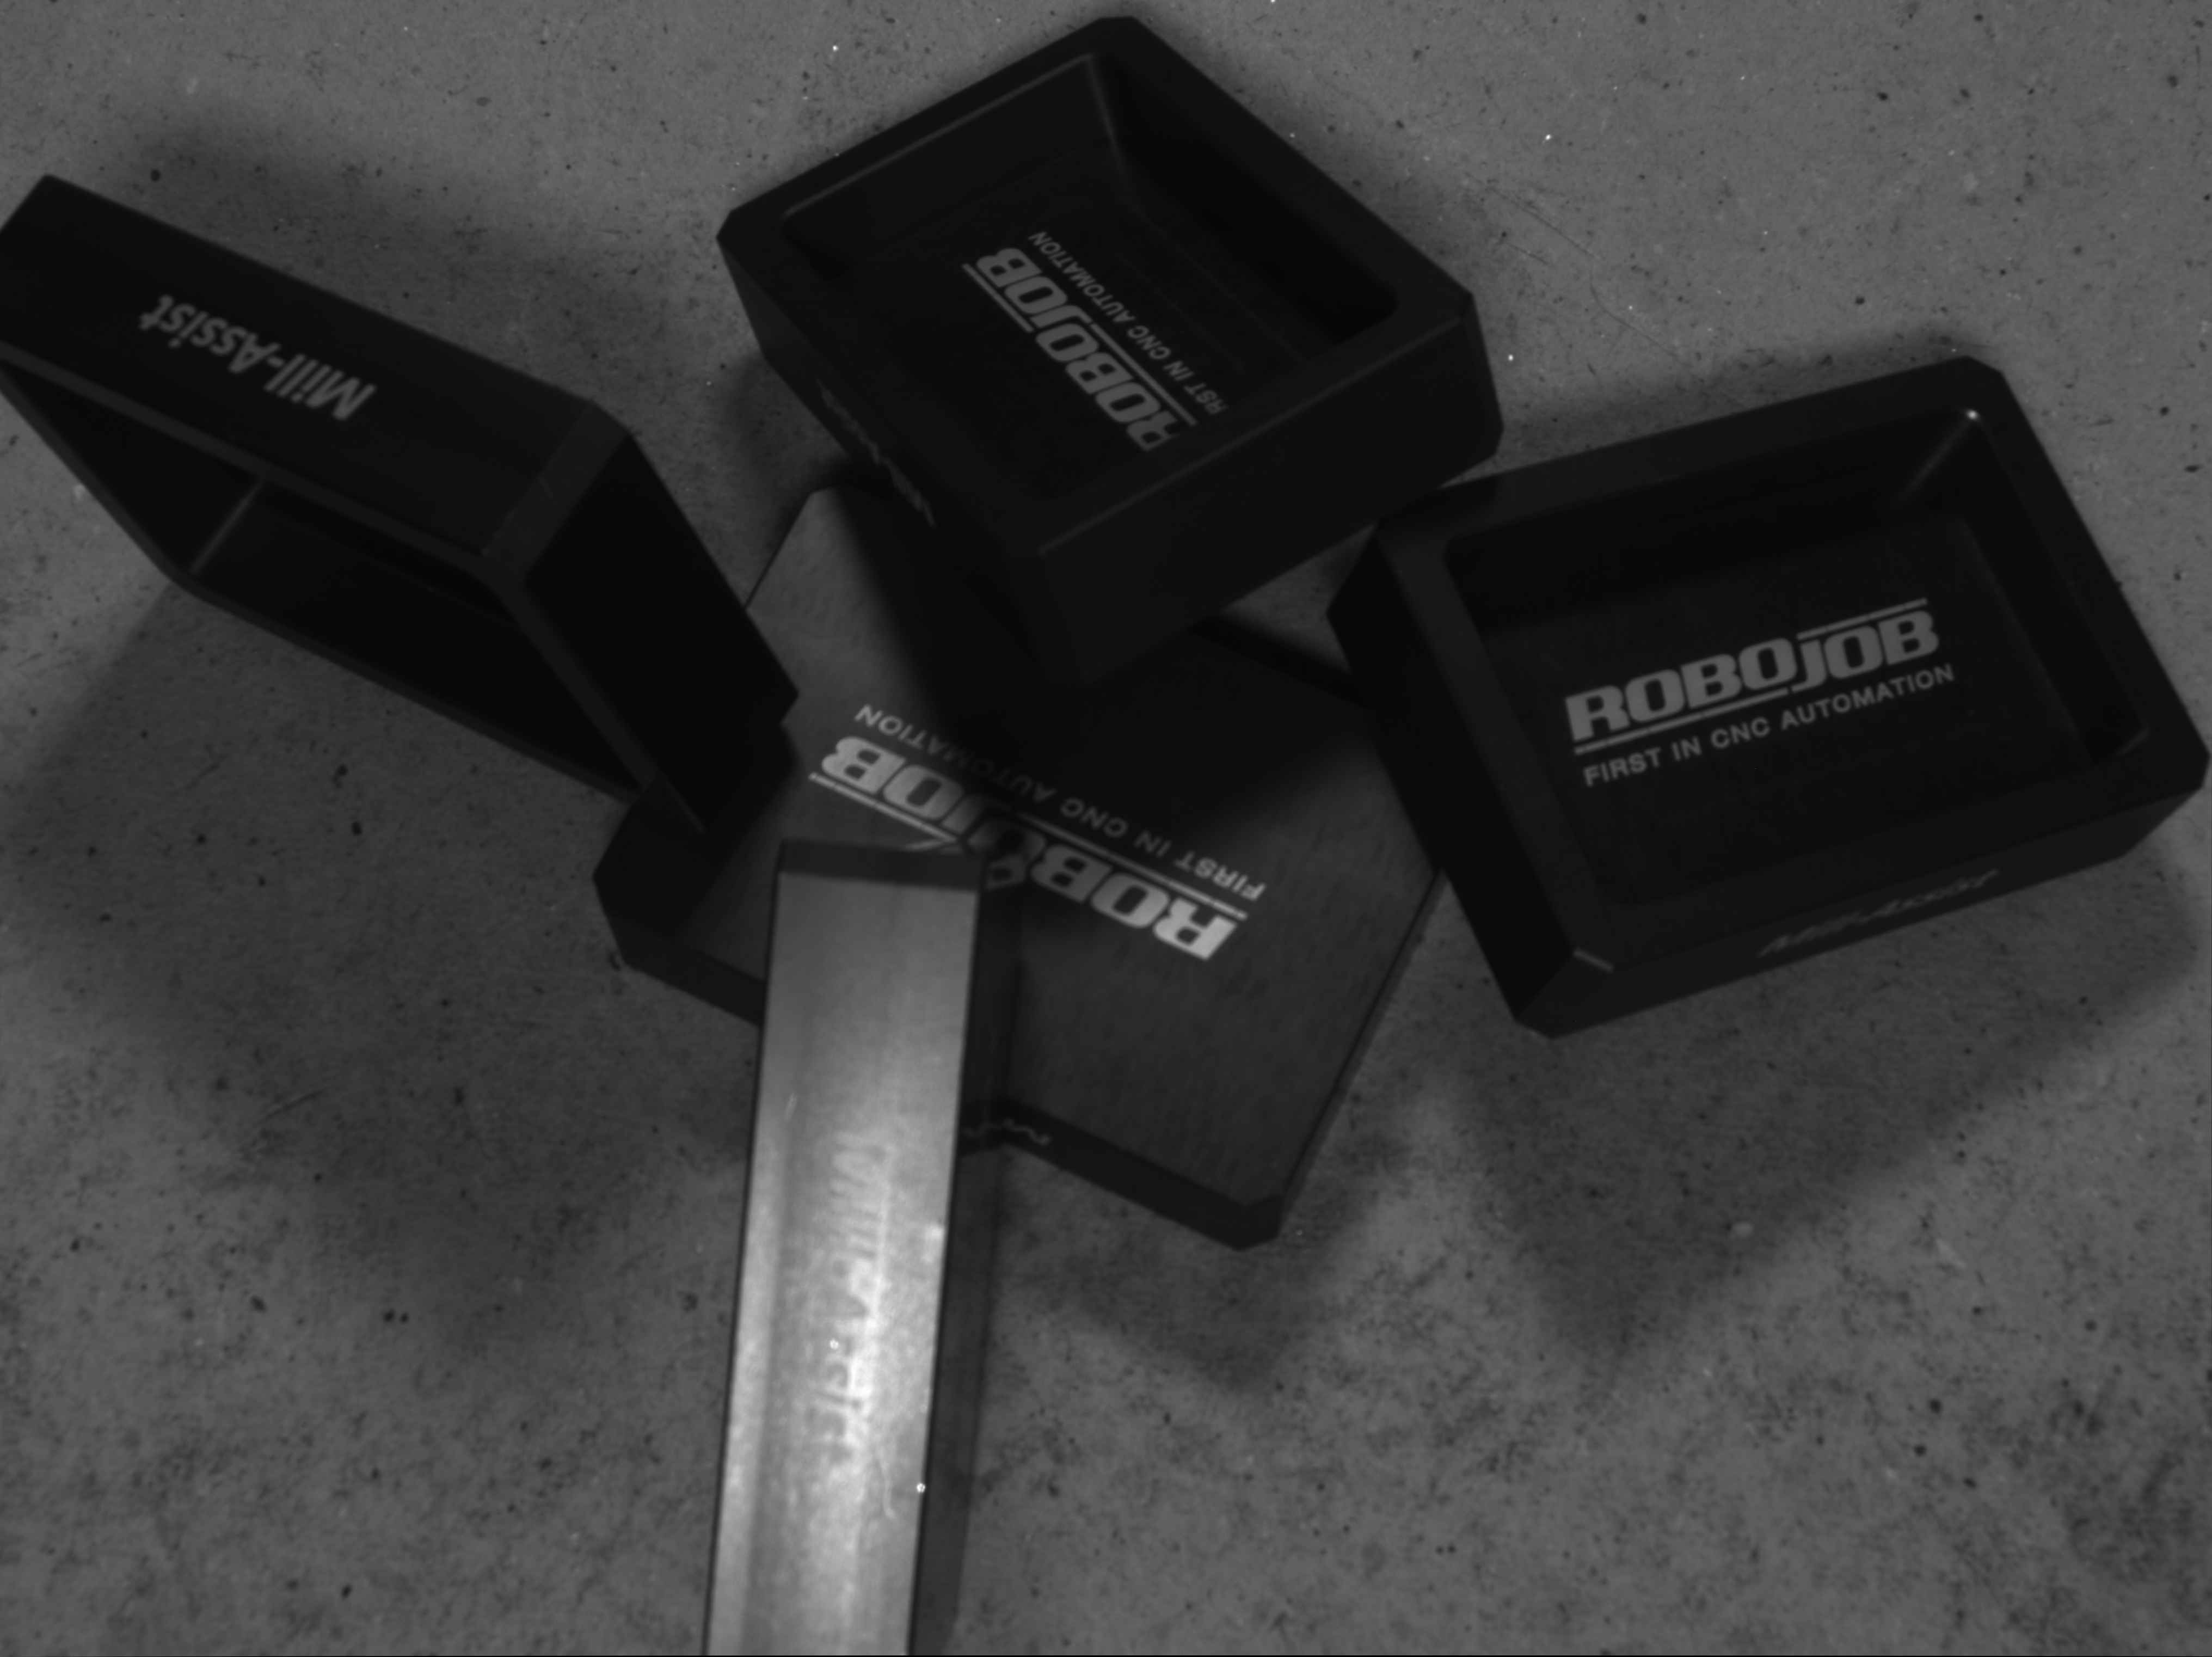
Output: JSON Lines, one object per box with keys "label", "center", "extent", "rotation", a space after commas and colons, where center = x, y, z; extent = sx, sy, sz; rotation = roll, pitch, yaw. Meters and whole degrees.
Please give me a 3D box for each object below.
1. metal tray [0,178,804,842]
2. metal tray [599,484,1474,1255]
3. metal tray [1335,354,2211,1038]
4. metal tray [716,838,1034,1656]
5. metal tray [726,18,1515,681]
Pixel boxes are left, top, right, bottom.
{"label": "metal tray", "center": [-0.122, -0.053, 0.613], "extent": [0.130, 0.090, 0.030], "rotation": [25, 71, 26]}
{"label": "metal tray", "center": [-0.010, 0.006, 0.640], "extent": [0.130, 0.030, 0.090], "rotation": [24, 72, 9]}
{"label": "metal tray", "center": [0.116, -0.025, 0.634], "extent": [0.130, 0.030, 0.090], "rotation": [-16, 70, -21]}
{"label": "metal tray", "center": [-0.034, 0.067, 0.565], "extent": [0.030, 0.090, 0.130], "rotation": [5, 90, 3]}
{"label": "metal tray", "center": [0.000, -0.088, 0.643], "extent": [0.090, 0.030, 0.130], "rotation": [-30, 43, -11]}
